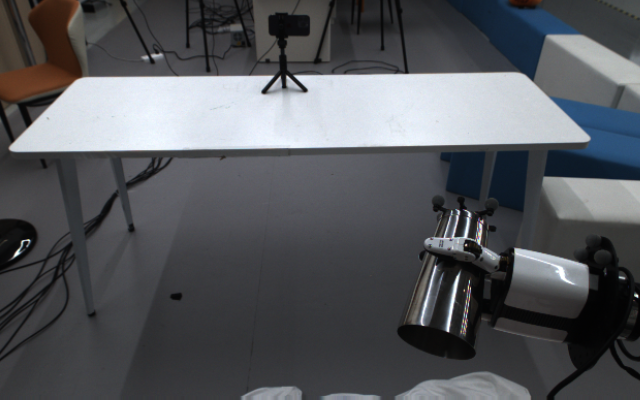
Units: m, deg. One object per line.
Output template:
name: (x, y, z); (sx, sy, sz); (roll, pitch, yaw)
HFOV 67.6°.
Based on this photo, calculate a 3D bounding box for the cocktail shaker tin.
cocktail shaker tin: (0.164, 0.097, 0.601); (0.093, 0.093, 0.170); (13, 57, 15)
